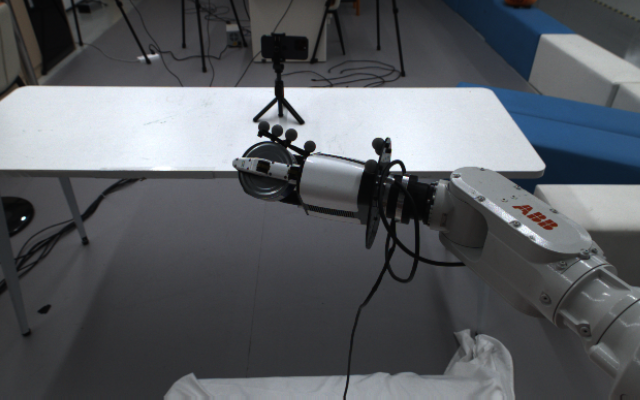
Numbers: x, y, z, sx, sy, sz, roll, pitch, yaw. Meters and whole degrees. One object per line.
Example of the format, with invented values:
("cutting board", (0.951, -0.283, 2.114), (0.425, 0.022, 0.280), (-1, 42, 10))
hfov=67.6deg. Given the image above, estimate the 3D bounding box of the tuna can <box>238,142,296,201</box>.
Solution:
("tuna can", (-0.074, -0.043, 0.712), (0.085, 0.085, 0.034), (13, -6, 16))
